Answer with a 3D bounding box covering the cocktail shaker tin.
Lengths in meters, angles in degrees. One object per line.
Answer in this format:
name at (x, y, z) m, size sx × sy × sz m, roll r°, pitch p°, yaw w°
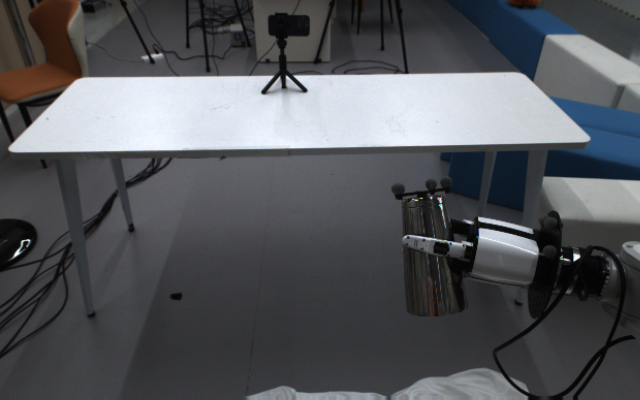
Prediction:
cocktail shaker tin at (0.167, 0.079, 0.735) m, size 0.093 × 0.170 × 0.093 m, roll -8°, pitch 1°, yaw 0°
